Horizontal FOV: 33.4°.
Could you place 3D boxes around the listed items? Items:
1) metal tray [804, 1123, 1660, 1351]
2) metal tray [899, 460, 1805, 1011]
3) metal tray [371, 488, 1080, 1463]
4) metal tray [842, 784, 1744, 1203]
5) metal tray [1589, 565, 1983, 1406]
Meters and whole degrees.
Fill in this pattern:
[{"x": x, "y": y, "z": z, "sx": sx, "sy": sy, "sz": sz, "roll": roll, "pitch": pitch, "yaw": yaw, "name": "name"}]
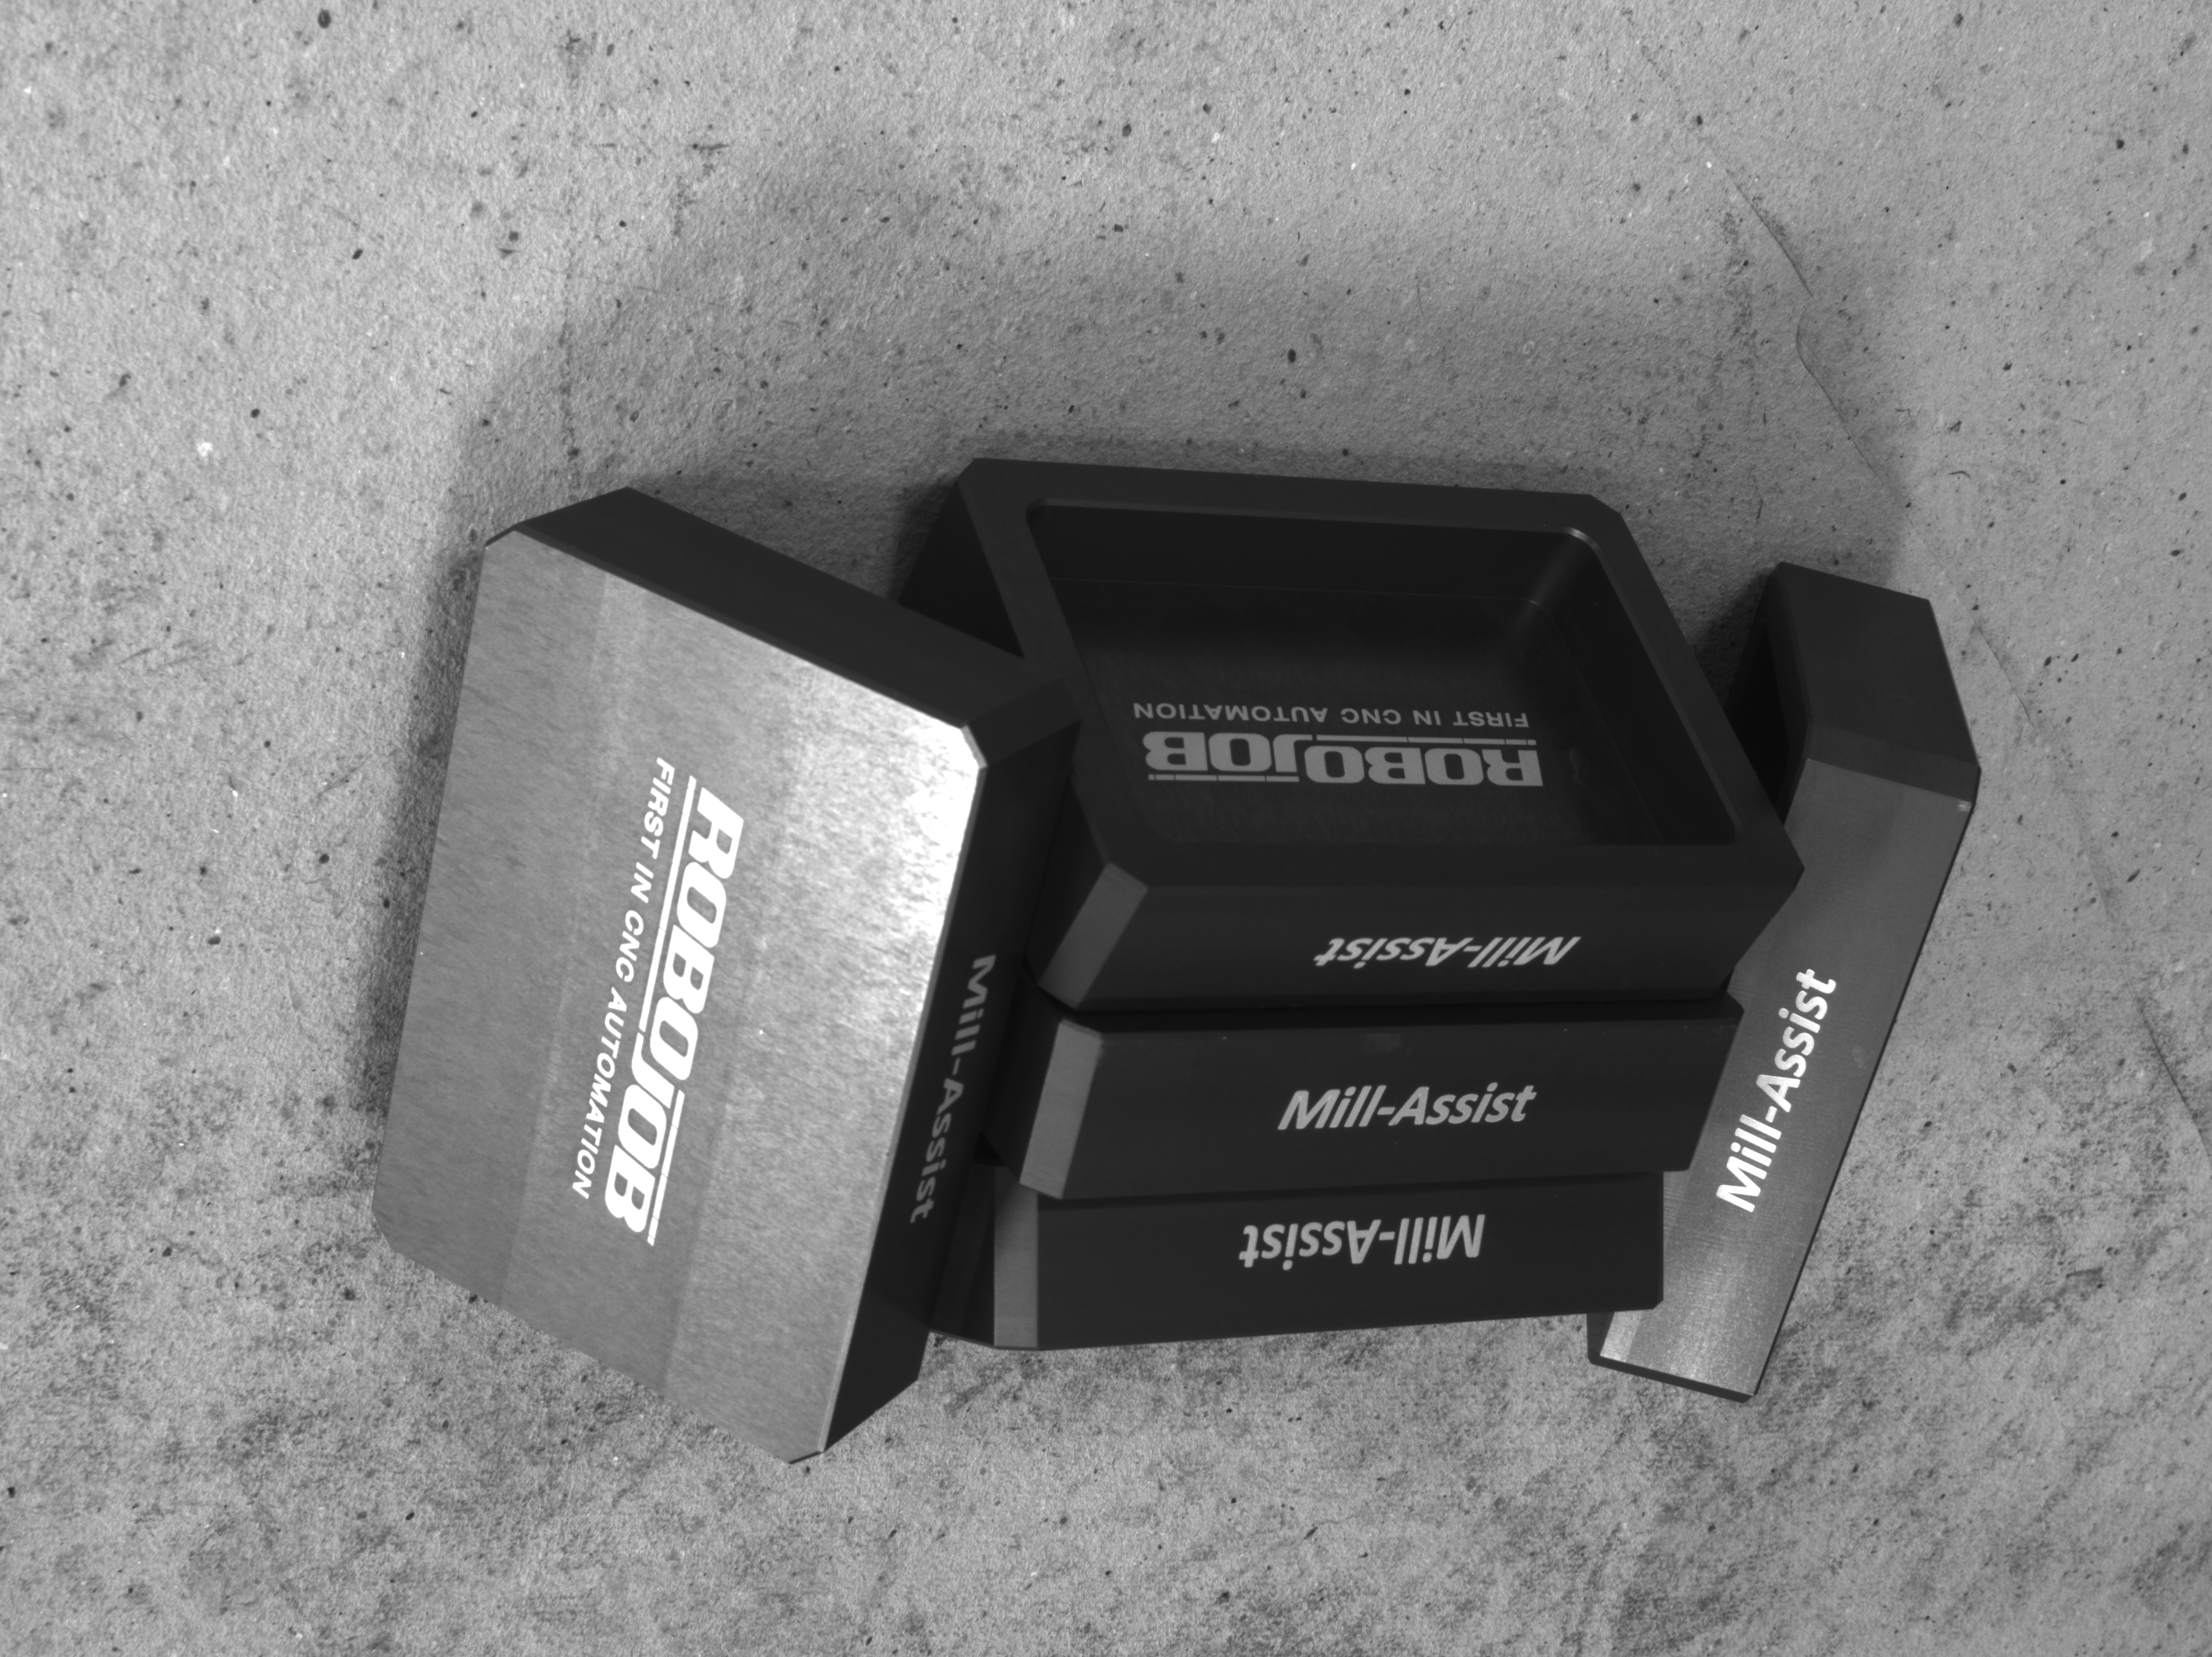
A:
[{"x": 0.020, "y": 0.069, "z": 0.647, "sx": 0.130, "sy": 0.090, "sz": 0.030, "roll": 1, "pitch": 89, "yaw": -28, "name": "metal tray"}, {"x": 0.040, "y": -0.015, "z": 0.605, "sx": 0.130, "sy": 0.090, "sz": 0.030, "roll": 0, "pitch": 140, "yaw": -28, "name": "metal tray"}, {"x": -0.062, "y": 0.023, "z": 0.578, "sx": 0.030, "sy": 0.090, "sz": 0.130, "roll": -31, "pitch": 140, "yaw": -57, "name": "metal tray"}, {"x": 0.030, "y": 0.024, "z": 0.626, "sx": 0.130, "sy": 0.090, "sz": 0.030, "roll": 0, "pitch": 118, "yaw": -28, "name": "metal tray"}, {"x": 0.121, "y": 0.028, "z": 0.676, "sx": 0.030, "sy": 0.090, "sz": 0.130, "roll": 15, "pitch": 114, "yaw": 0, "name": "metal tray"}]
